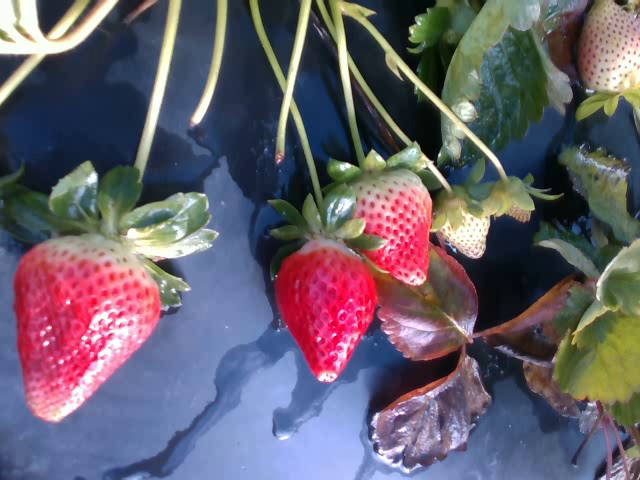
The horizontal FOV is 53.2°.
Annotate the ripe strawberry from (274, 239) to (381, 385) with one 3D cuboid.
[{"bbox_3d":[0.000,0.028,0.237,0.044,0.055,0.042,-5,-23,12],"label":"ripe strawberry"}]

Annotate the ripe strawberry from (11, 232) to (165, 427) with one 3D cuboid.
[{"bbox_3d":[-0.079,0.029,0.203,0.050,0.065,0.050,16,-25,2],"label":"ripe strawberry"}]
